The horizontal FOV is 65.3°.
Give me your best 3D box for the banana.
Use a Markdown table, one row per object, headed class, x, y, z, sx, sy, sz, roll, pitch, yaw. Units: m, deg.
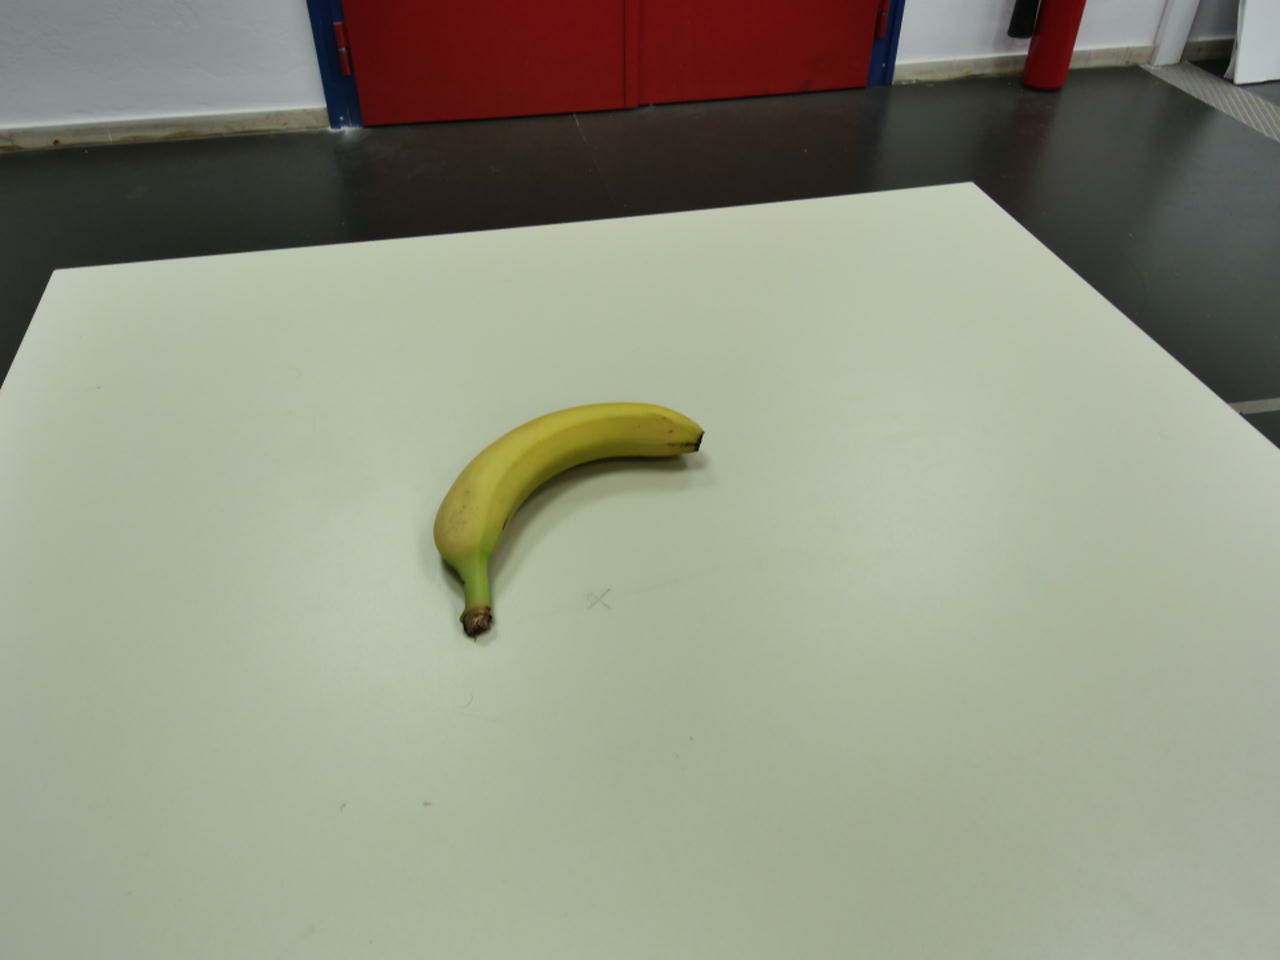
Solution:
| class | x | y | z | sx | sy | sz | roll | pitch | yaw |
| --- | --- | --- | --- | --- | --- | --- | --- | --- | --- |
| banana | -0.055 | 0.002 | 0.588 | 0.094 | 0.041 | 0.196 | 30 | 47 | 31 |
